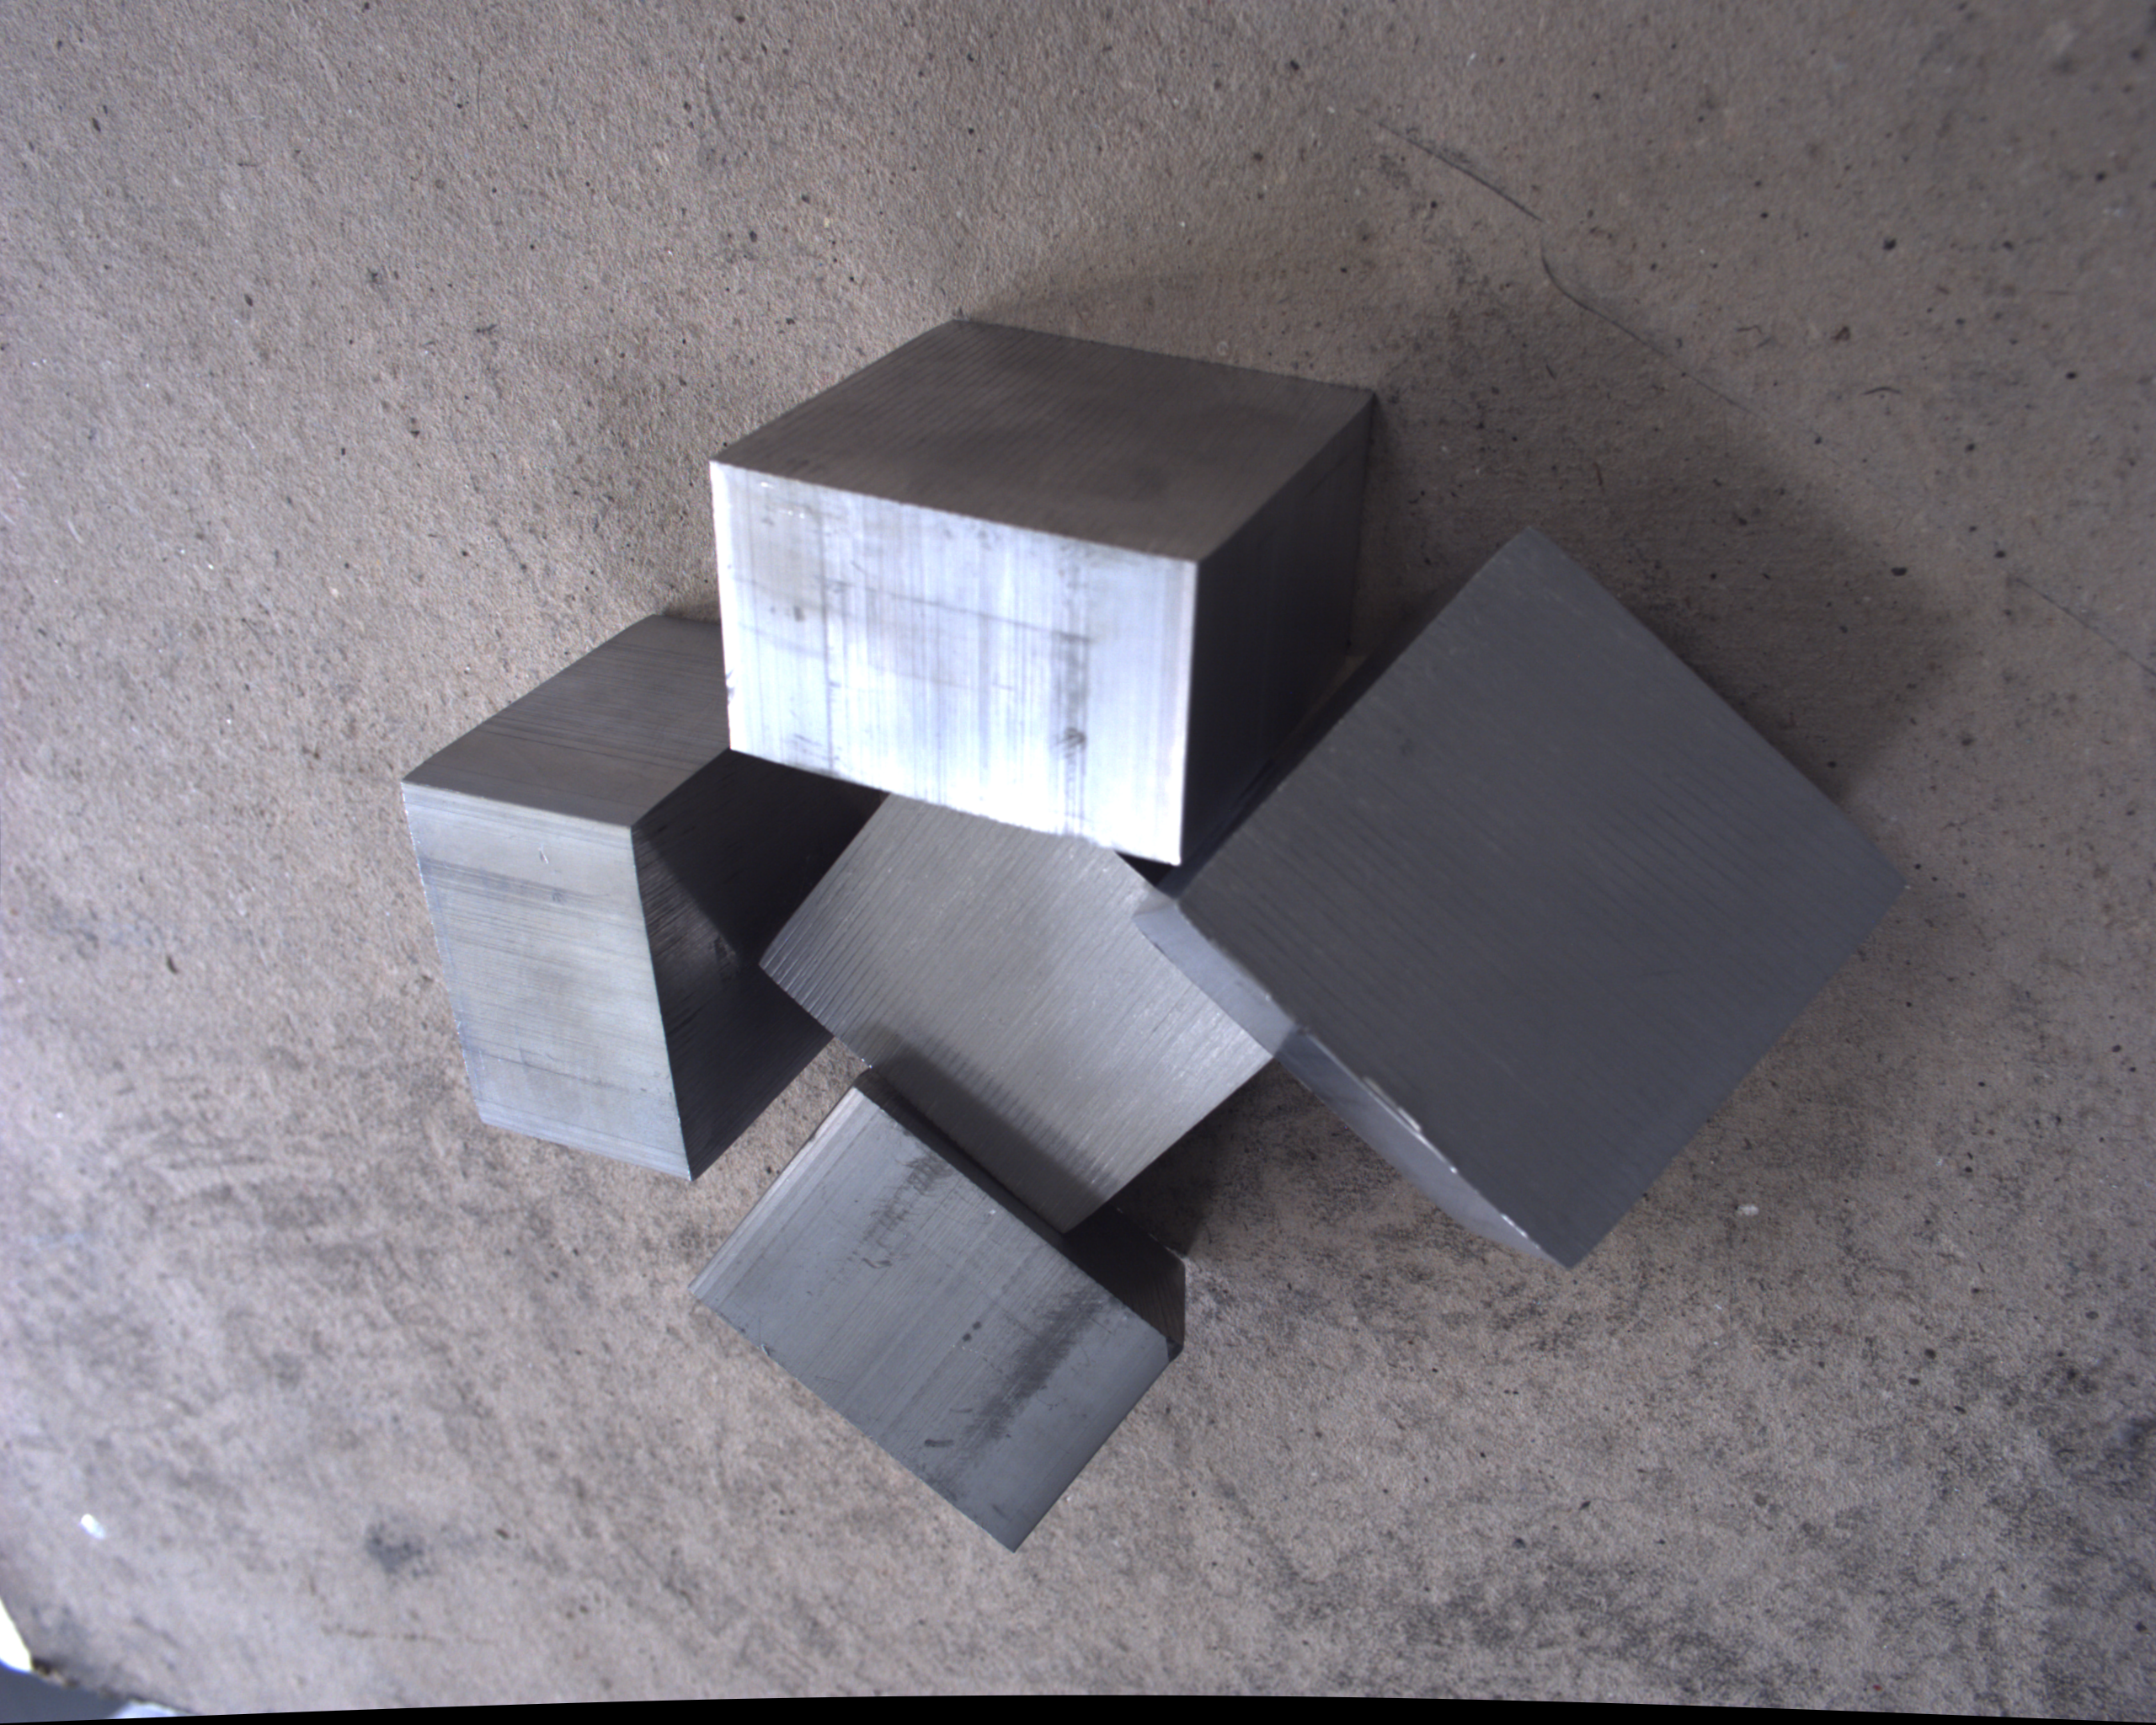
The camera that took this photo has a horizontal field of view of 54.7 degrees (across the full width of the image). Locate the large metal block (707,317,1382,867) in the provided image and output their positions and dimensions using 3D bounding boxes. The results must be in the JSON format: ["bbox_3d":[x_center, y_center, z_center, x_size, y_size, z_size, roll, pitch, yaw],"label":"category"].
[{"bbox_3d":[-0.003,-0.049,0.345,0.080,0.080,0.050,15,124,20],"label":"large metal block"}]

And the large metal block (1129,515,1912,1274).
[{"bbox_3d":[0.067,0.006,0.333,0.080,0.080,0.050,43,173,-2],"label":"large metal block"}]

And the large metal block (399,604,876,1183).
[{"bbox_3d":[-0.081,0.004,0.419,0.050,0.080,0.079,11,124,22],"label":"large metal block"}]

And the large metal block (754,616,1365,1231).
[{"bbox_3d":[-0.001,0.011,0.397,0.080,0.050,0.080,41,129,-2],"label":"large metal block"}]

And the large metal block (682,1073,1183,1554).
[{"bbox_3d":[-0.025,0.085,0.431,0.080,0.080,0.050,39,92,2],"label":"large metal block"}]
